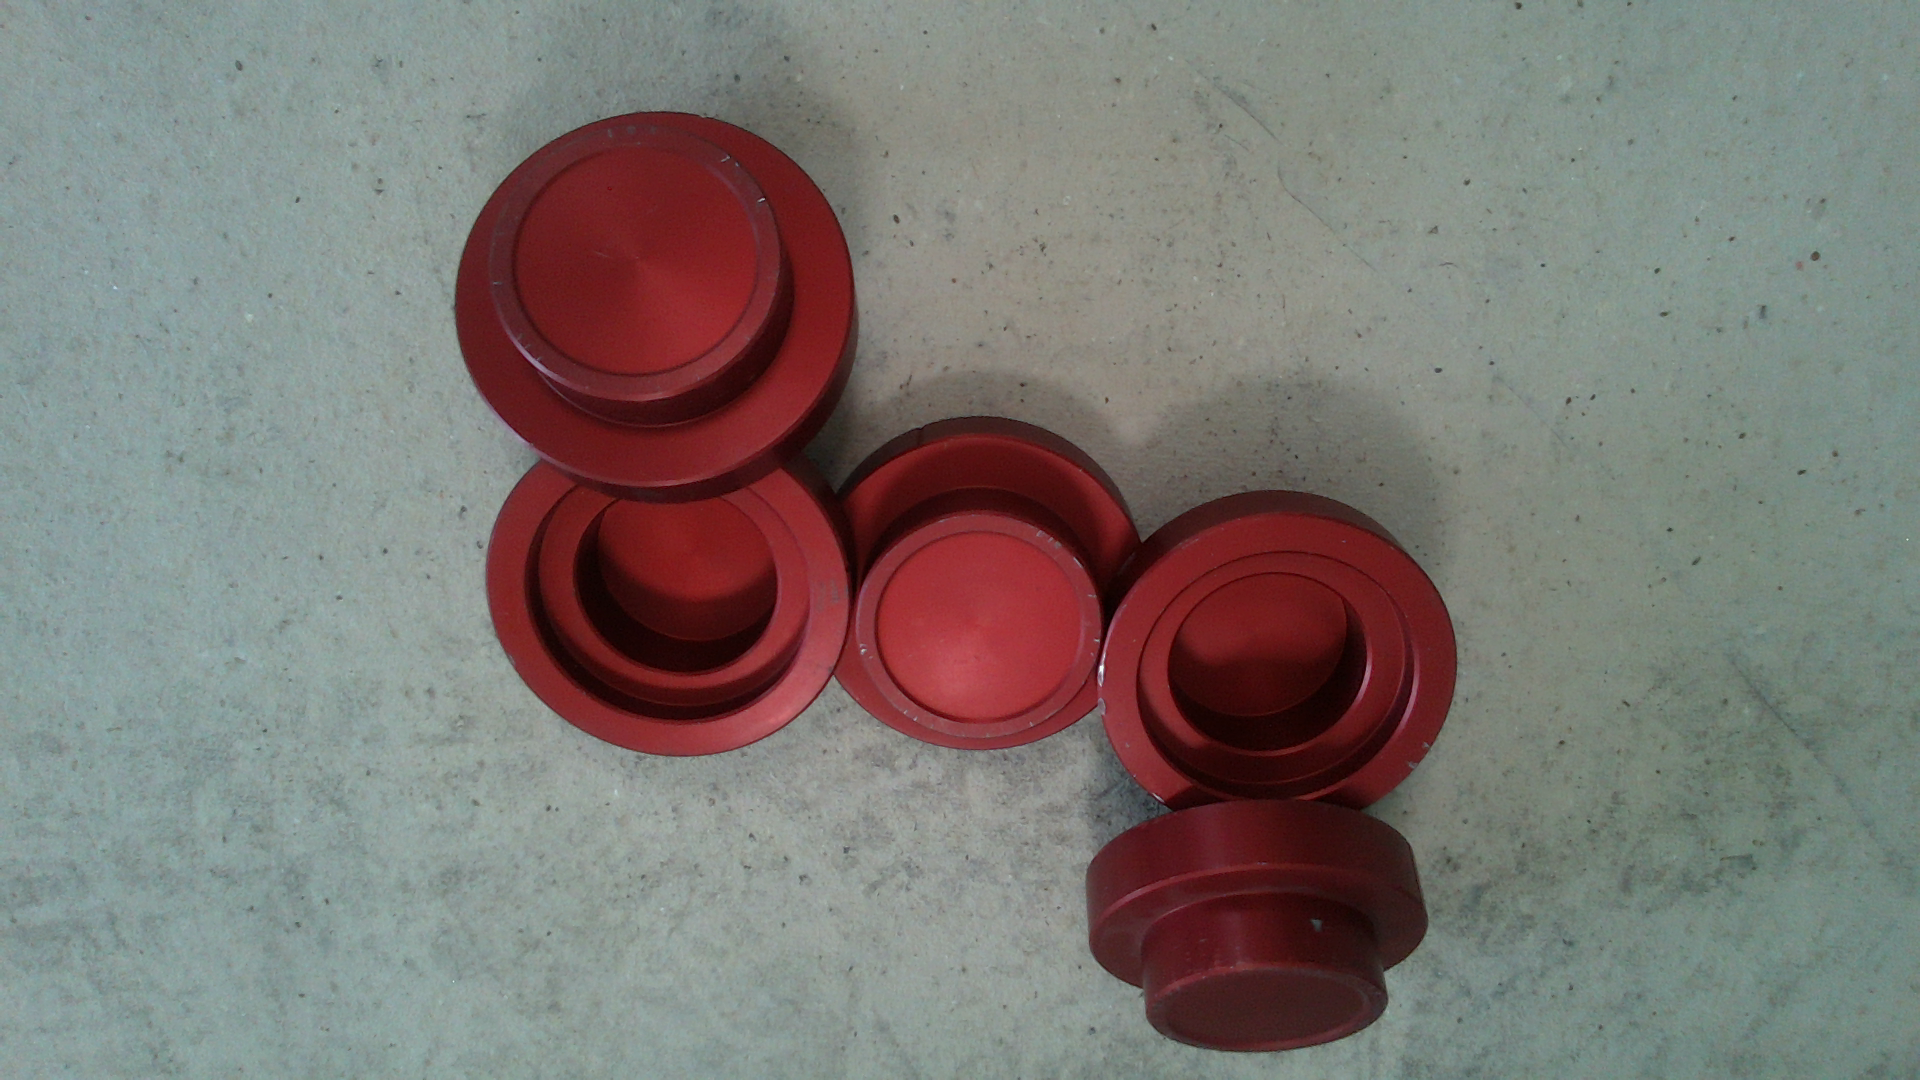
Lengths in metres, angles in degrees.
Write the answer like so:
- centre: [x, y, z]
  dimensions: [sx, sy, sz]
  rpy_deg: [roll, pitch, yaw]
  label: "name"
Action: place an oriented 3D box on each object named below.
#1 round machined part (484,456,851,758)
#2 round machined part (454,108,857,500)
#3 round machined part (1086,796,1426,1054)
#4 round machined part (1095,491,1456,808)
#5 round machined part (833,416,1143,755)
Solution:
- centre: [-0.078, 0.008, 0.387]
  dimensions: [0.098, 0.042, 0.098]
  rpy_deg: [0, 111, 1]
  label: "round machined part"
- centre: [-0.075, -0.061, 0.338]
  dimensions: [0.098, 0.042, 0.098]
  rpy_deg: [0, 79, -1]
  label: "round machined part"
- centre: [0.087, 0.118, 0.405]
  dimensions: [0.098, 0.042, 0.098]
  rpy_deg: [0, 139, 0]
  label: "round machined part"
- centre: [0.087, 0.032, 0.397]
  dimensions: [0.098, 0.042, 0.098]
  rpy_deg: [0, 111, 1]
  label: "round machined part"
- centre: [0.005, 0.017, 0.390]
  dimensions: [0.098, 0.042, 0.098]
  rpy_deg: [0, 108, 1]
  label: "round machined part"
